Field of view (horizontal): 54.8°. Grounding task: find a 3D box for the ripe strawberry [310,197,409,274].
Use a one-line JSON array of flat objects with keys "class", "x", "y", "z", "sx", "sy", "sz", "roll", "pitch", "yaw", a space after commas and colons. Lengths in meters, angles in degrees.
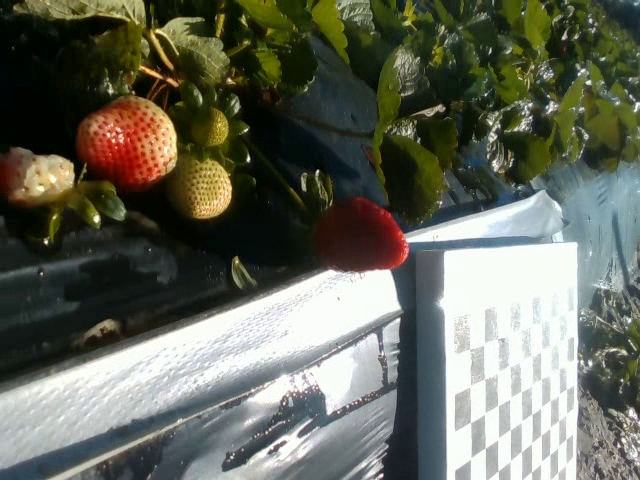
[{"class": "ripe strawberry", "x": 0.018, "y": 0.001, "z": 0.245, "sx": 0.045, "sy": 0.038, "sz": 0.036, "roll": 19, "pitch": 16, "yaw": 39}]
